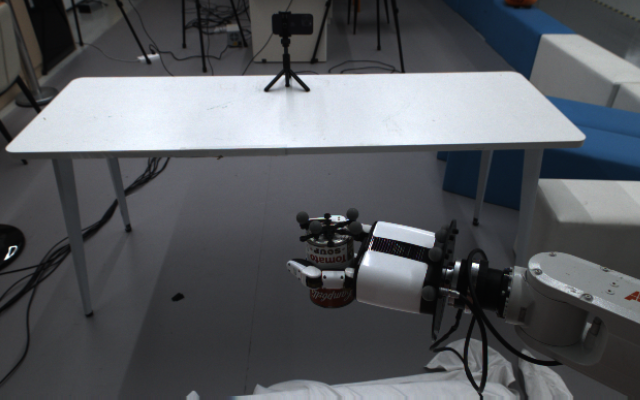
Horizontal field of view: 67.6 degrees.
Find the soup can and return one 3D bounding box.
[{"bbox_3d":[0.016,0.089,0.671,0.067,0.101,0.067,-4,25,2],"label":"soup can"}]
